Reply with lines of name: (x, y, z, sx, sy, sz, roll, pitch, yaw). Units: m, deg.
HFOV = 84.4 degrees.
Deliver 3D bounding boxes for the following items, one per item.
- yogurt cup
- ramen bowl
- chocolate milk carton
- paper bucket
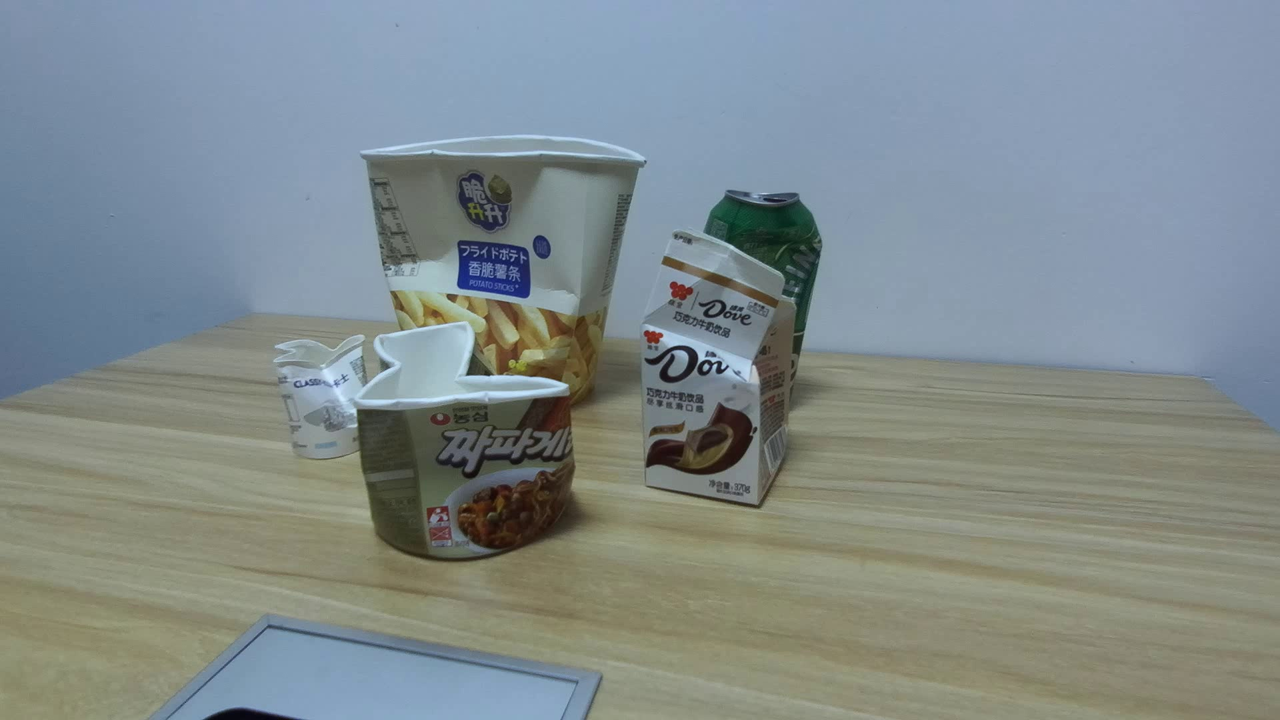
yogurt cup: (-0.217, 0.024, 0.491, 0.055, 0.072, 0.055, -8, 19, -16)
ramen bowl: (-0.099, 0.040, 0.404, 0.112, 0.093, 0.128, -6, 21, -14)
chocolate milk carton: (0.048, -0.001, 0.420, 0.076, 0.155, 0.074, 8, 24, 21)
paper bucket: (-0.107, -0.071, 0.559, 0.218, 0.199, 0.147, -2, 20, -4)
